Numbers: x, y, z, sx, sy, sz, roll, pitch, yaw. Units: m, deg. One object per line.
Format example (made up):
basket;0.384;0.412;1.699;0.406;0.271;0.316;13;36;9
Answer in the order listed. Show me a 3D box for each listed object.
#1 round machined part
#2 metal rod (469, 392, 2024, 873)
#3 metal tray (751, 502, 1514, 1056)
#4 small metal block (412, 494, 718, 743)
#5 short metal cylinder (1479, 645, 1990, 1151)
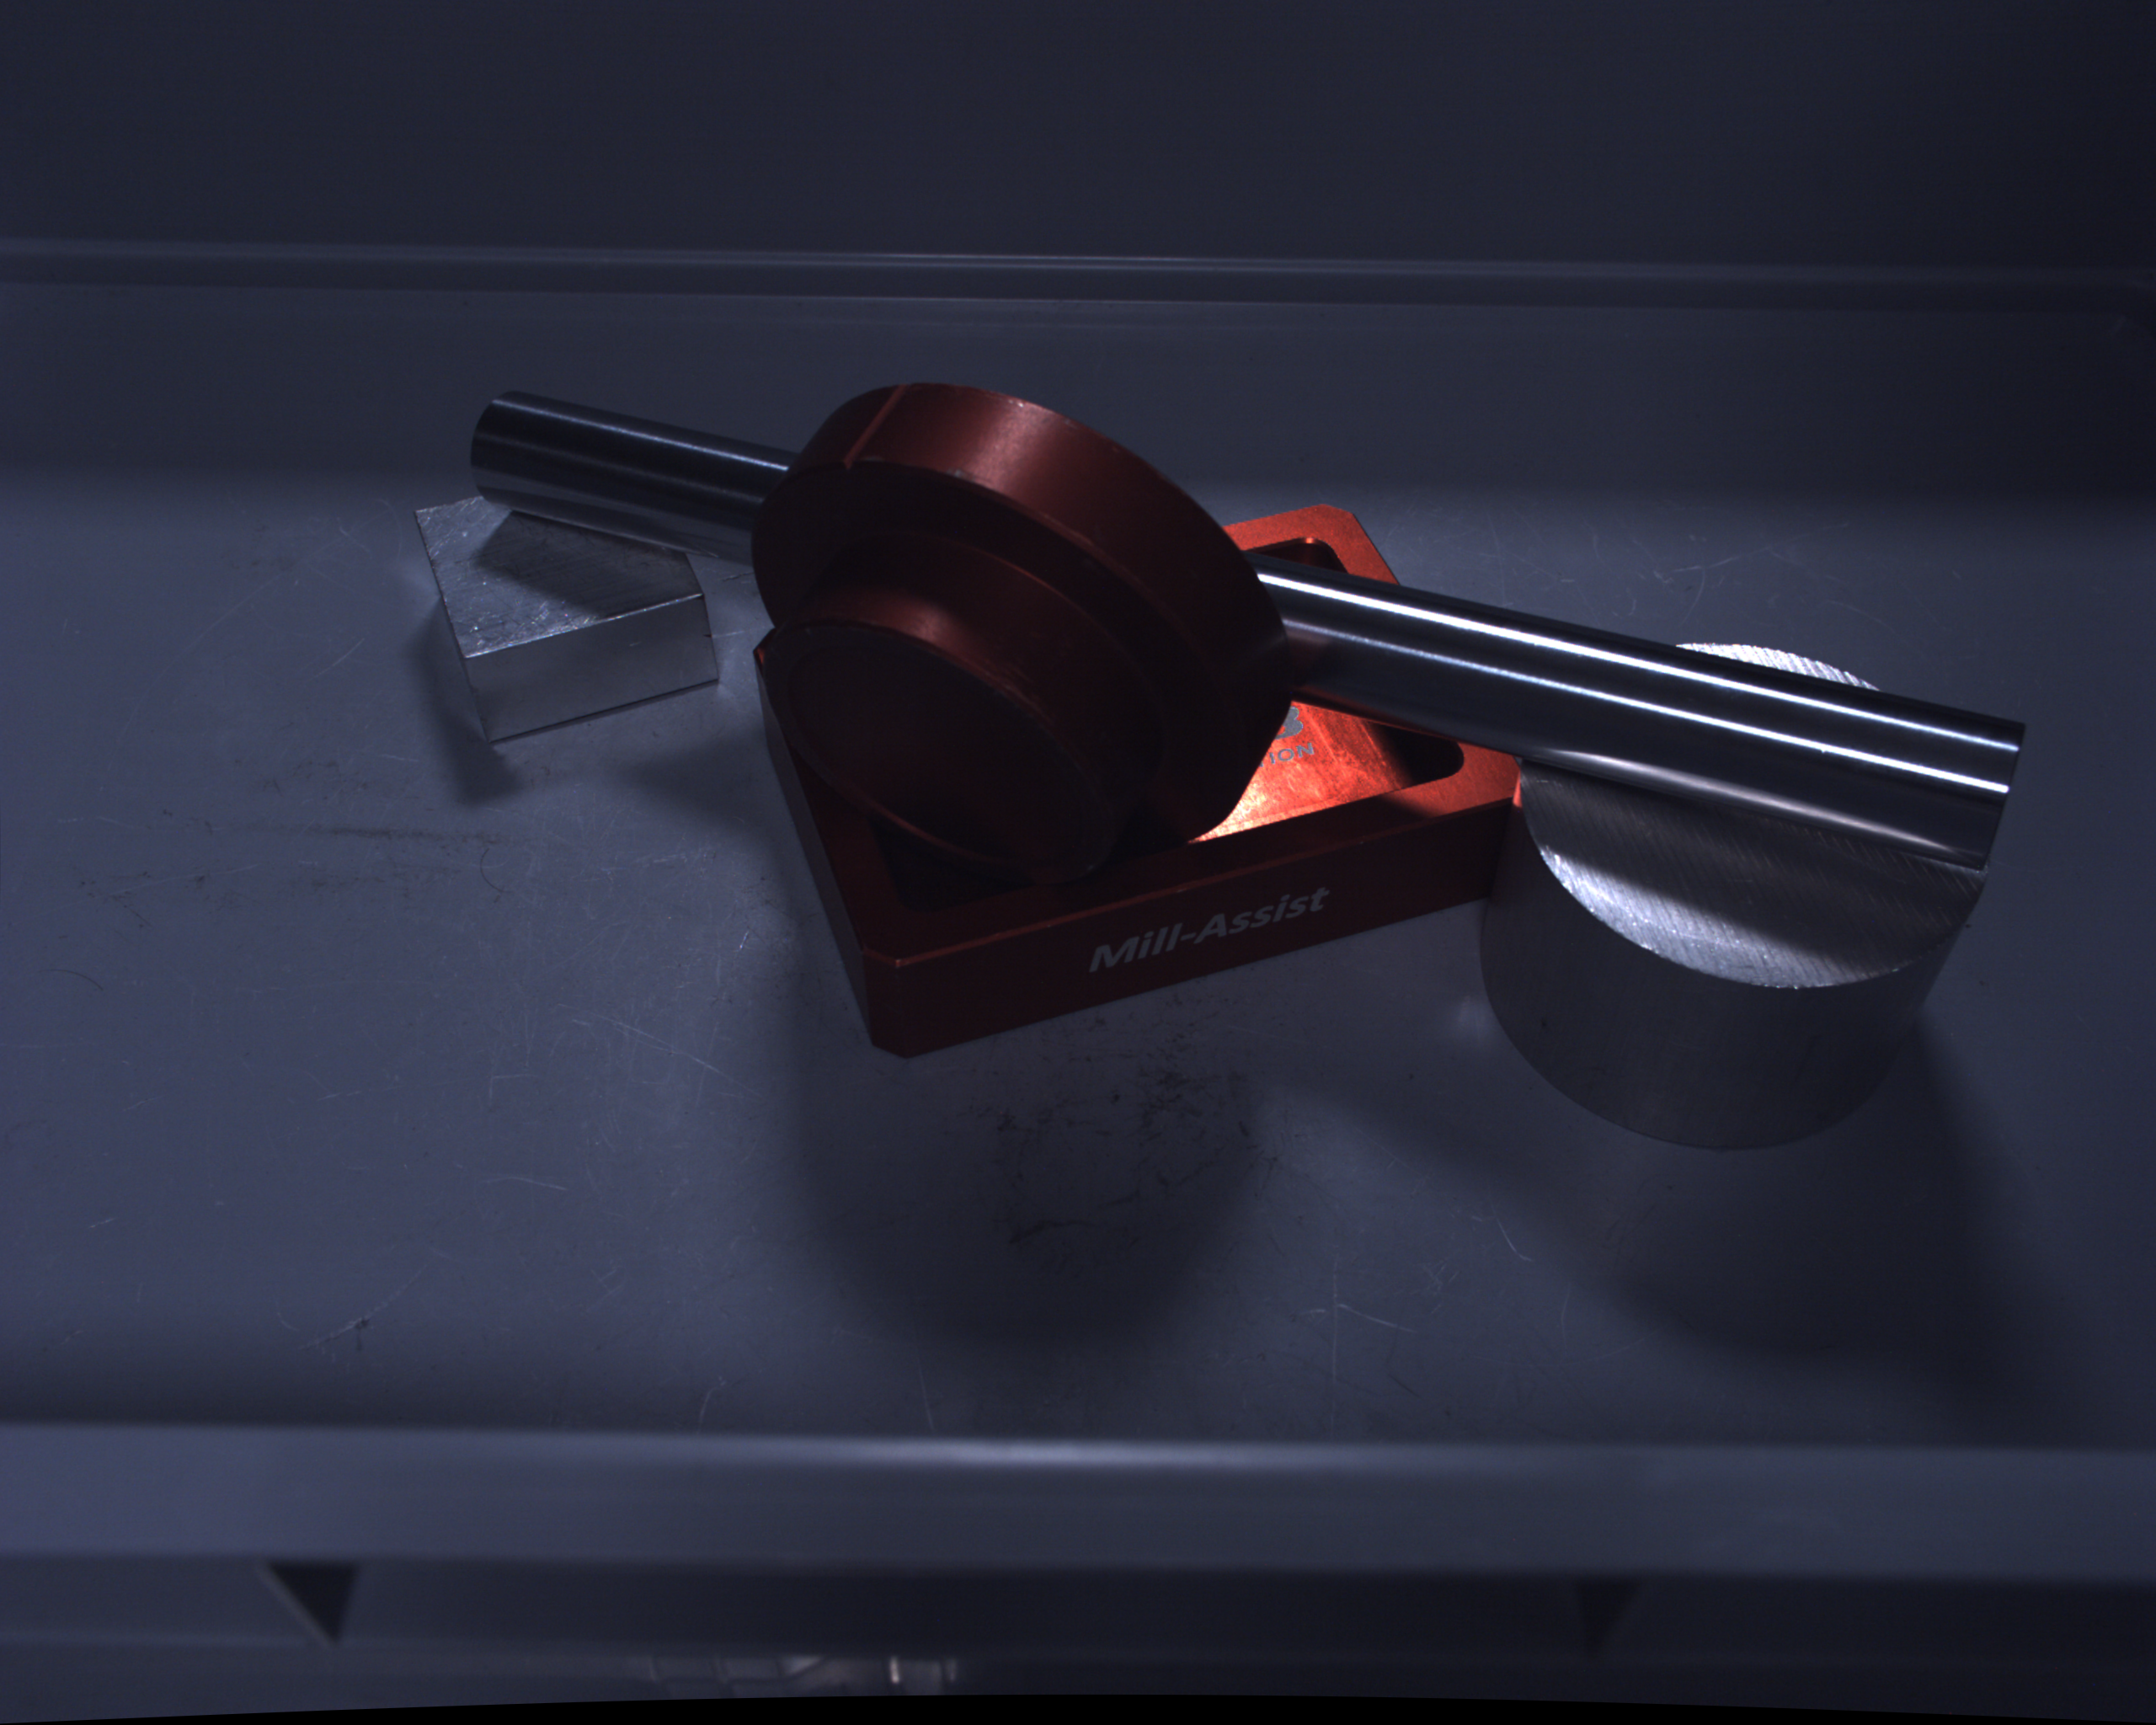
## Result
round machined part;-0.016;-0.033;0.367;0.098;0.098;0.042;22;61;17
metal rod;0.015;-0.049;0.391;0.301;0.025;0.025;16;52;20
metal tray;0.010;-0.021;0.416;0.131;0.030;0.090;-15;52;-13
small metal block;-0.111;-0.058;0.450;0.050;0.025;0.050;-17;52;-15
short metal cylinder;0.118;0.006;0.384;0.081;0.050;0.080;0;50;0
